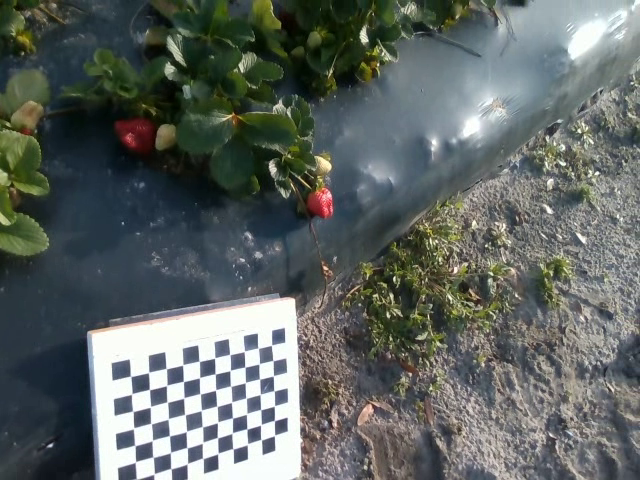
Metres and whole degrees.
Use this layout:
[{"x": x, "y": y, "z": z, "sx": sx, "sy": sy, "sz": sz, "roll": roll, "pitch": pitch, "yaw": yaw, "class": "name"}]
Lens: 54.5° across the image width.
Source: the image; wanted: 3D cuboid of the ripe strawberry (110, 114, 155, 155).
[{"x": -0.267, "y": -0.151, "z": 0.883, "sx": 0.057, "sy": 0.058, "sz": 0.070, "roll": 5, "pitch": -1, "yaw": 30, "class": "ripe strawberry"}]

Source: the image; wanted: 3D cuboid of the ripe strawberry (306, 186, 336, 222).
[{"x": 0.005, "y": -0.056, "z": 0.962, "sx": 0.047, "sy": 0.050, "sz": 0.034, "roll": -31, "pitch": 14, "yaw": -30, "class": "ripe strawberry"}]
